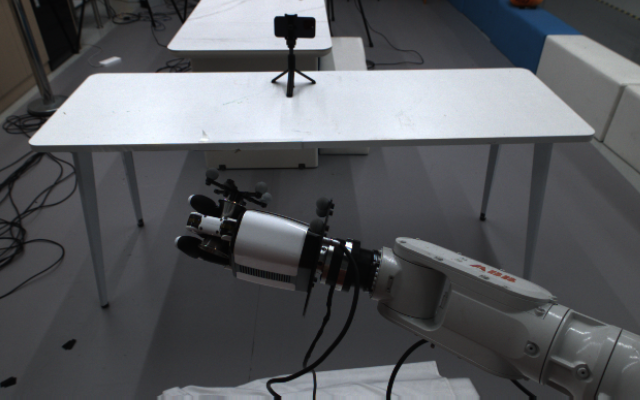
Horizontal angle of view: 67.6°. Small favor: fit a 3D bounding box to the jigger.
[{"bbox_3d":[-0.124,0.037,0.638,0.043,0.043,0.071,12,71,14],"label":"jigger"}]
